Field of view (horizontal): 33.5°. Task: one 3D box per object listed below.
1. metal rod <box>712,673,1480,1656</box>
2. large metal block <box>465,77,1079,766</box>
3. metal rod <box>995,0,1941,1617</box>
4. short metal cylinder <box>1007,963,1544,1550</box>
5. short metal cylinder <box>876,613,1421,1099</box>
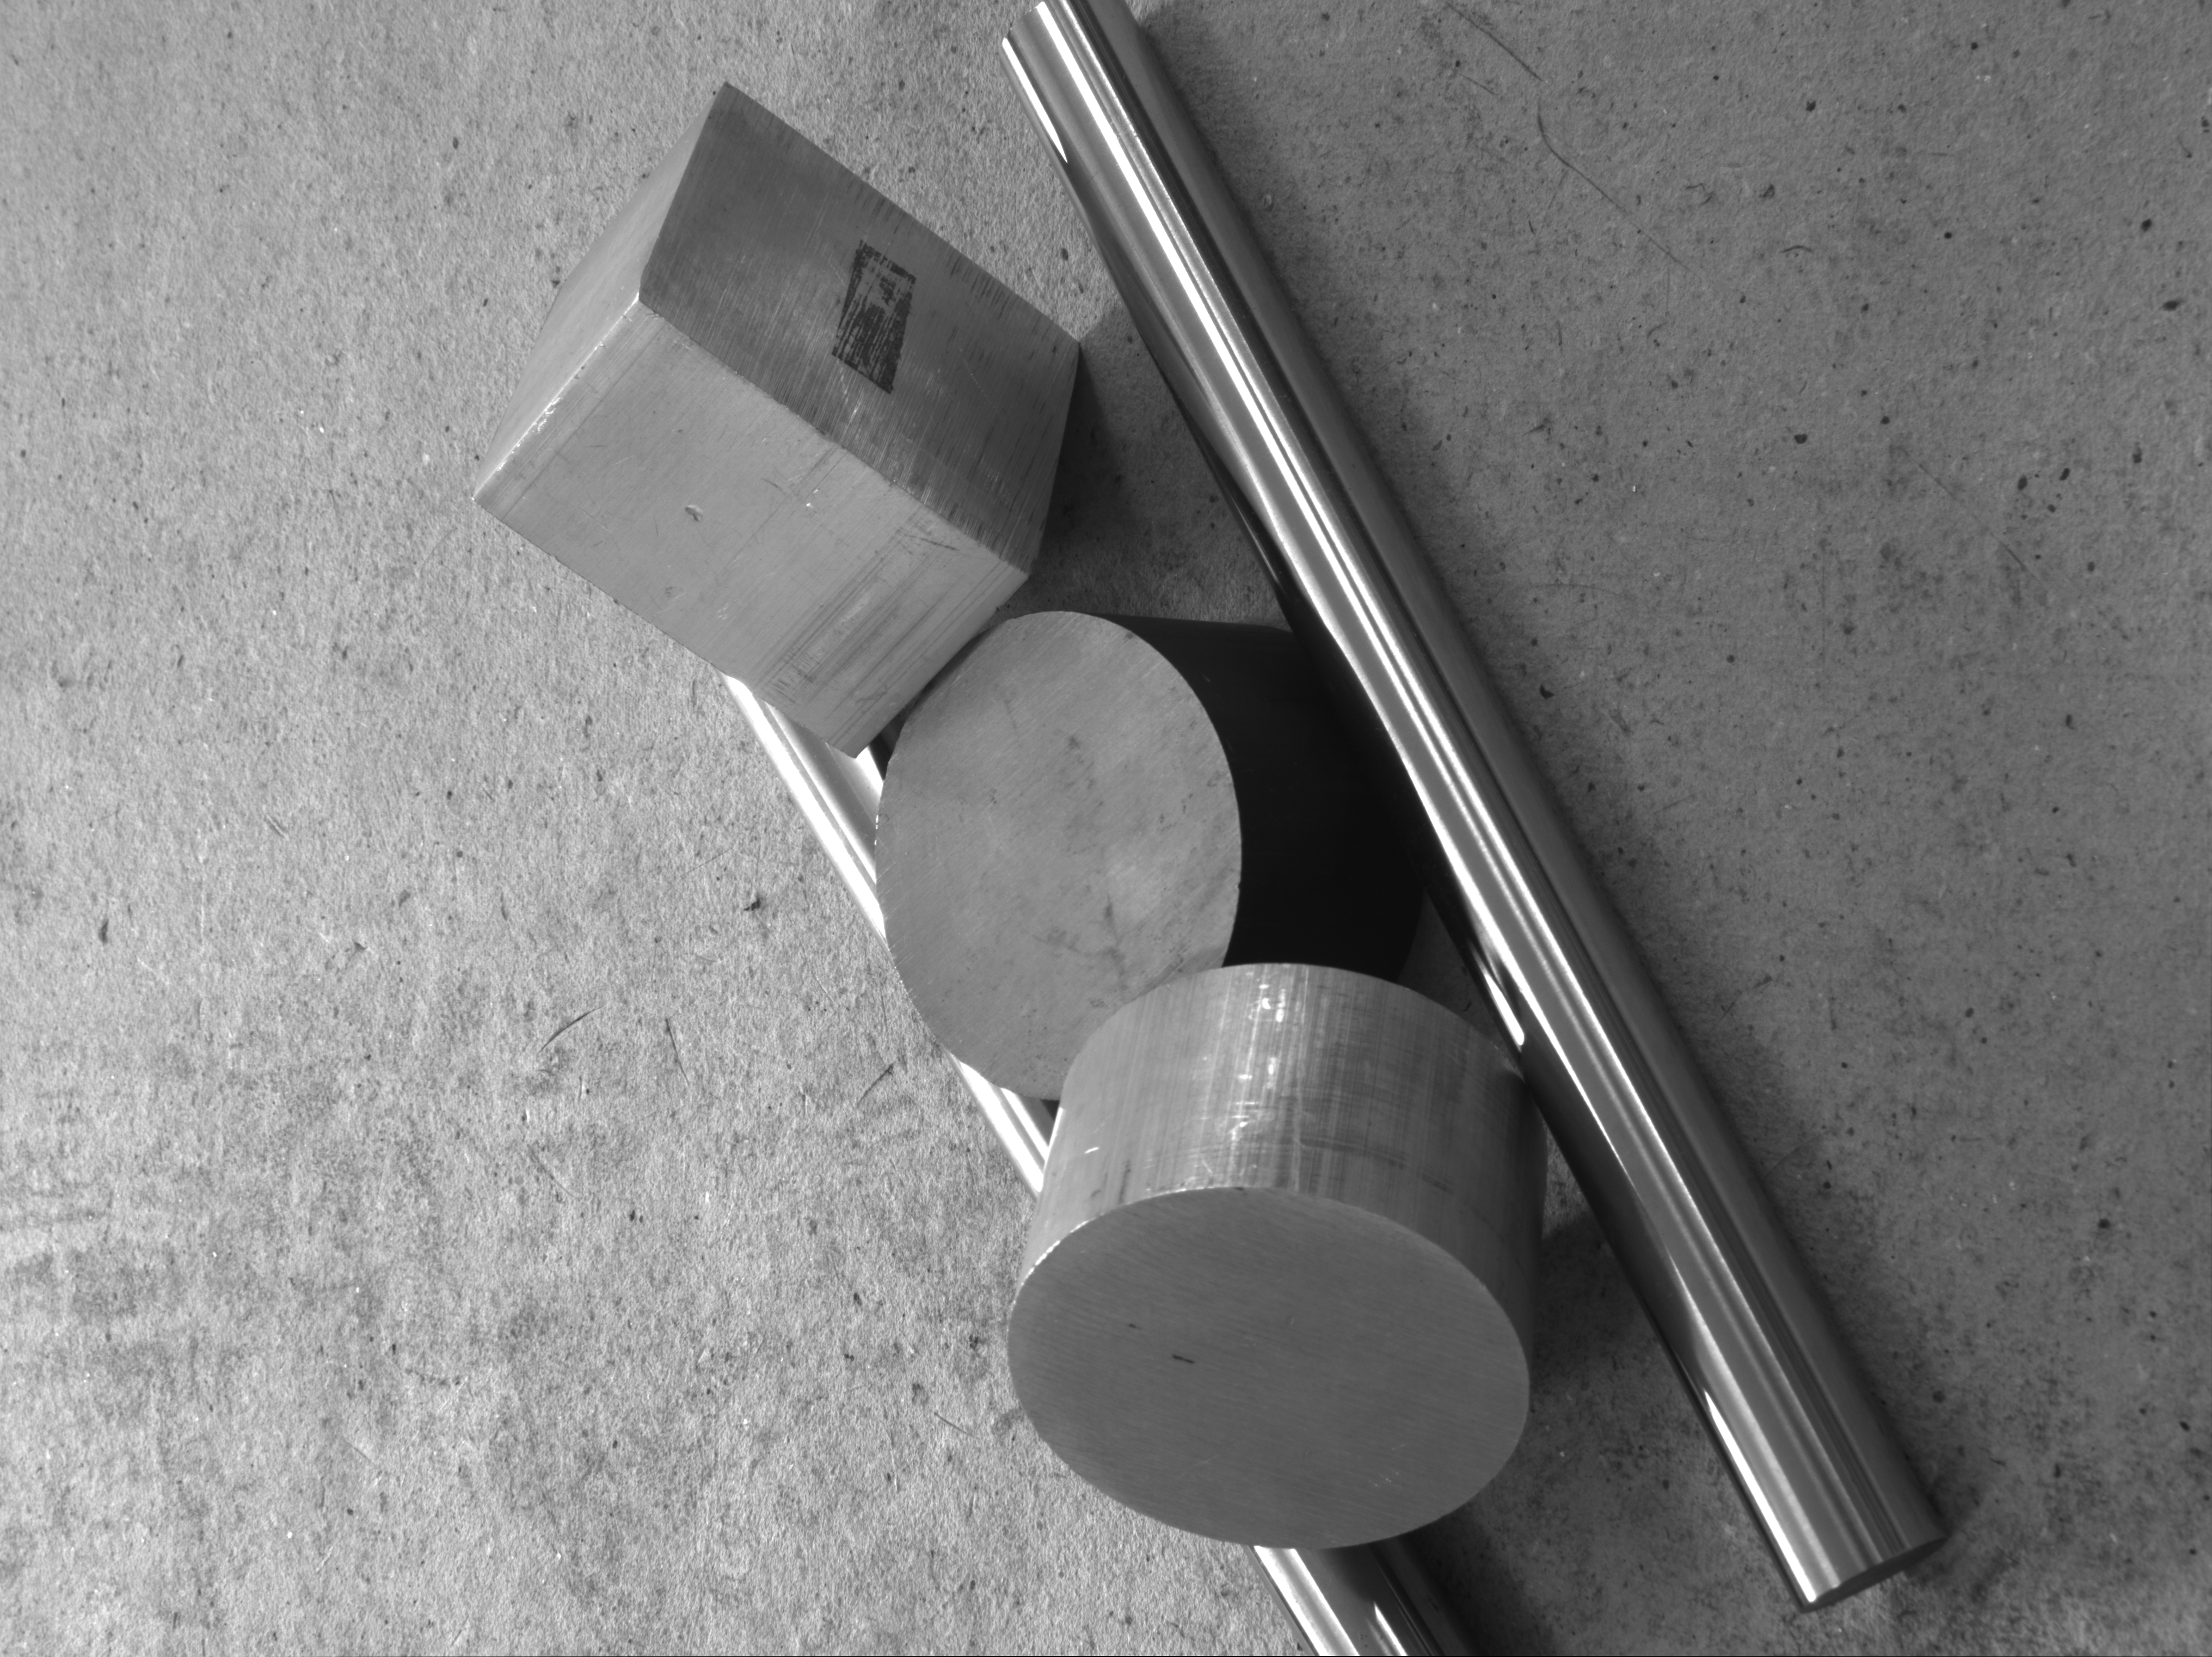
[{"bbox_3d":[-0.011,0.046,0.655,0.025,0.025,0.299,-48,61,29],"label":"metal rod"},{"bbox_3d":[-0.055,-0.071,0.636,0.050,0.080,0.080,-44,22,31],"label":"large metal block"},{"bbox_3d":[0.053,-0.014,0.601,0.025,0.025,0.300,-40,66,33],"label":"metal rod"},{"bbox_3d":[0.028,0.068,0.578,0.080,0.080,0.050,-39,24,33],"label":"short metal cylinder"},{"bbox_3d":[0.007,0.005,0.623,0.080,0.050,0.080,0,90,40],"label":"short metal cylinder"}]
